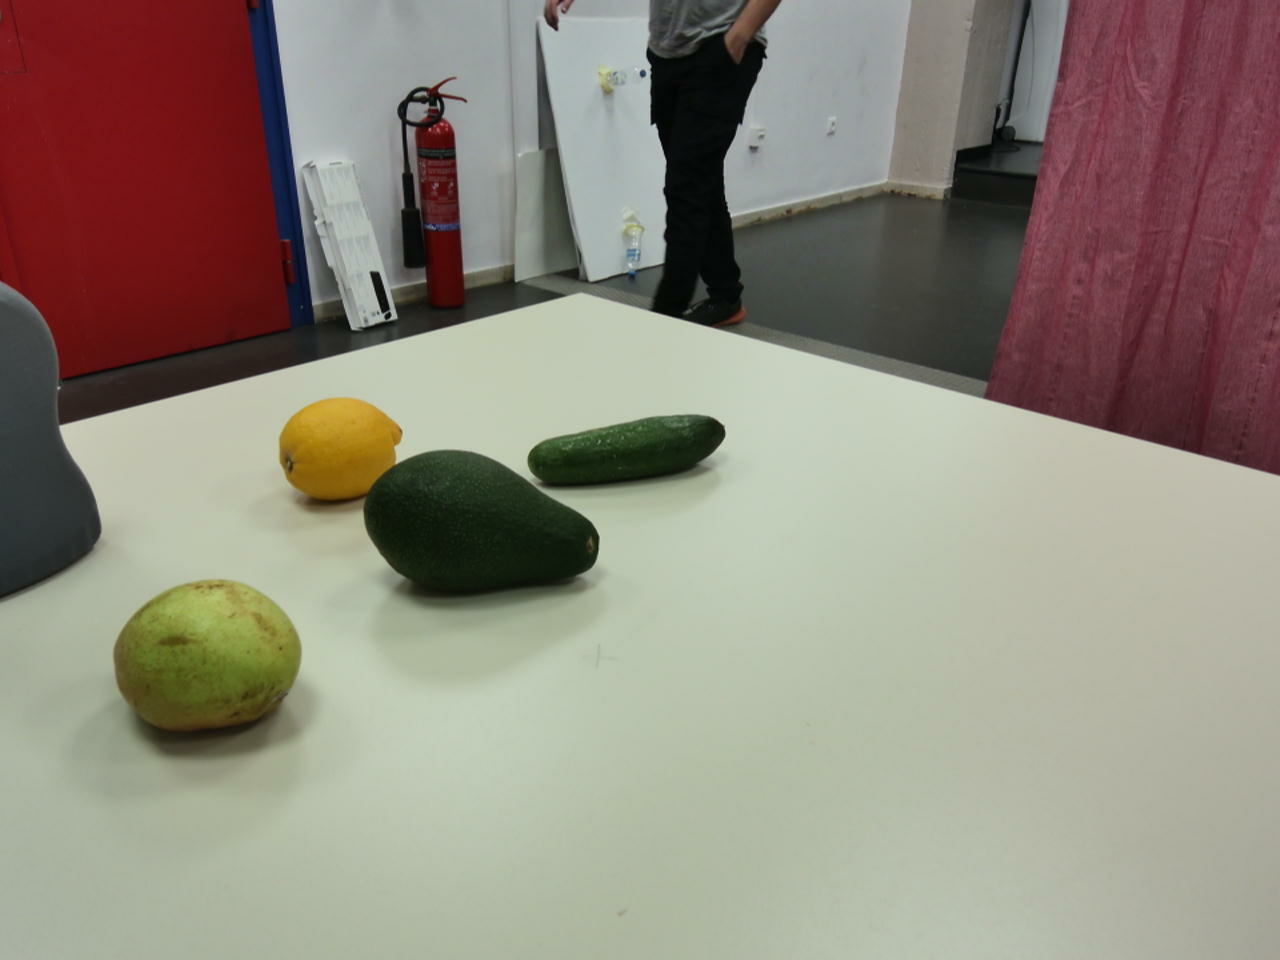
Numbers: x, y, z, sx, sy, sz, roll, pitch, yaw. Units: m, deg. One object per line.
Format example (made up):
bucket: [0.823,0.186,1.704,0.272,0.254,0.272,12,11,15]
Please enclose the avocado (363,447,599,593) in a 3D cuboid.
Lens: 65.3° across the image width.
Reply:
avocado: [-0.081,0.020,0.499,0.110,0.071,0.072,8,25,16]
